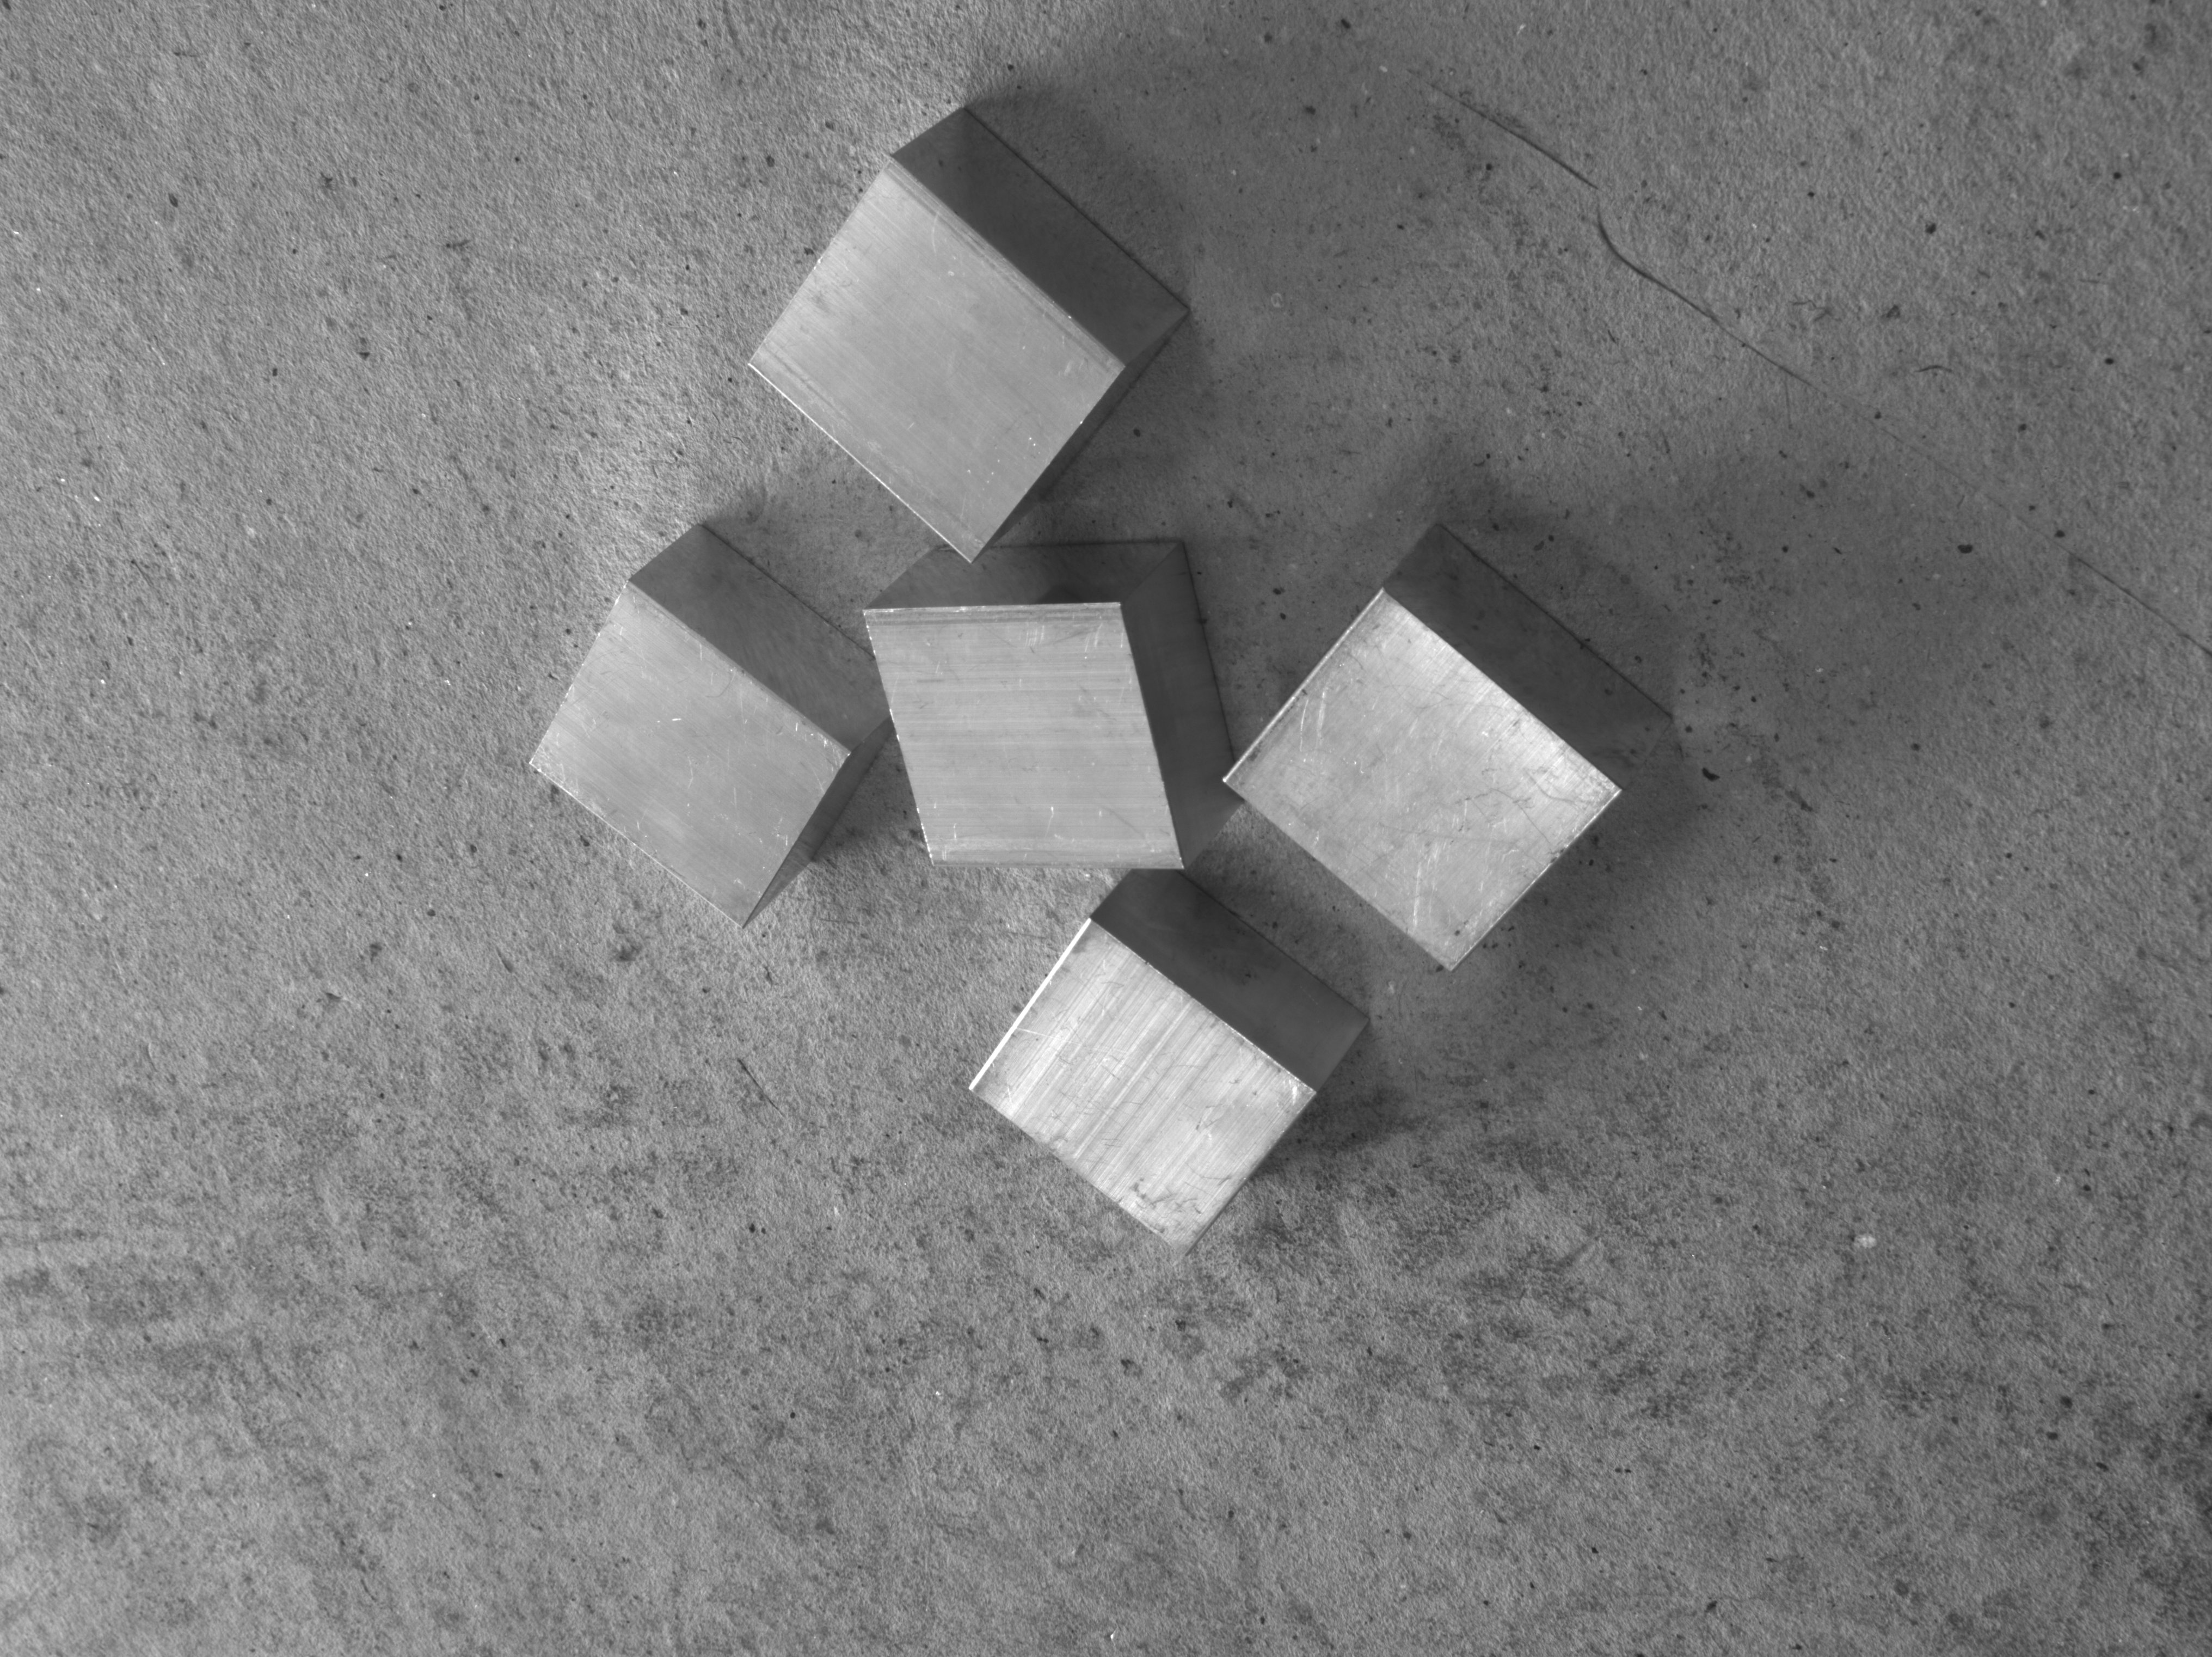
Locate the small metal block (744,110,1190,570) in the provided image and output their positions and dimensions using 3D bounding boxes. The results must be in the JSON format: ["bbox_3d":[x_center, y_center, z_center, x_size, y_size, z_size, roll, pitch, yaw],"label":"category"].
[{"bbox_3d":[-0.023,-0.080,0.605,0.050,0.025,0.050,42,129,0],"label":"small metal block"}]

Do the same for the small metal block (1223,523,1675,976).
[{"bbox_3d":[0.056,-0.013,0.605,0.050,0.025,0.050,40,129,1],"label":"small metal block"}]

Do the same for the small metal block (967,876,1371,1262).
[{"bbox_3d":[0.011,0.041,0.662,0.050,0.025,0.050,37,128,3],"label":"small metal block"}]

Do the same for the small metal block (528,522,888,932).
[{"bbox_3d":[-0.070,-0.018,0.669,0.050,0.025,0.050,37,128,3],"label":"small metal block"}]

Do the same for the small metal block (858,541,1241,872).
[{"bbox_3d":[-0.009,-0.021,0.634,0.050,0.025,0.050,0,119,29],"label":"small metal block"}]
